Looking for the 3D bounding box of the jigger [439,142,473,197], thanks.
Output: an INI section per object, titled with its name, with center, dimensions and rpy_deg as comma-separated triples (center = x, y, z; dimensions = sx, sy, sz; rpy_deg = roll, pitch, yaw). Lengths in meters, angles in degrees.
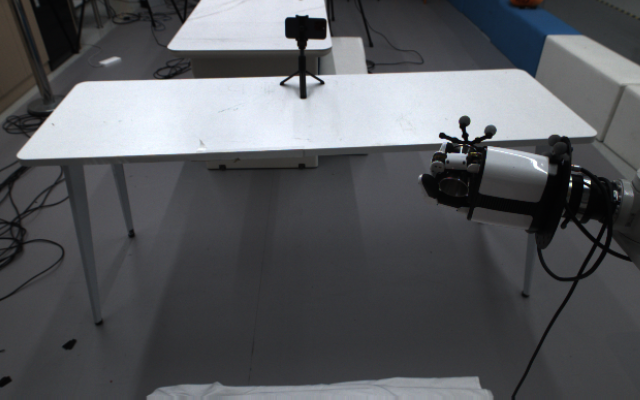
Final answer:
[jigger]
center = 0.205, -0.048, 0.710
dimensions = 0.043, 0.043, 0.071
rpy_deg = 16, 59, 19
